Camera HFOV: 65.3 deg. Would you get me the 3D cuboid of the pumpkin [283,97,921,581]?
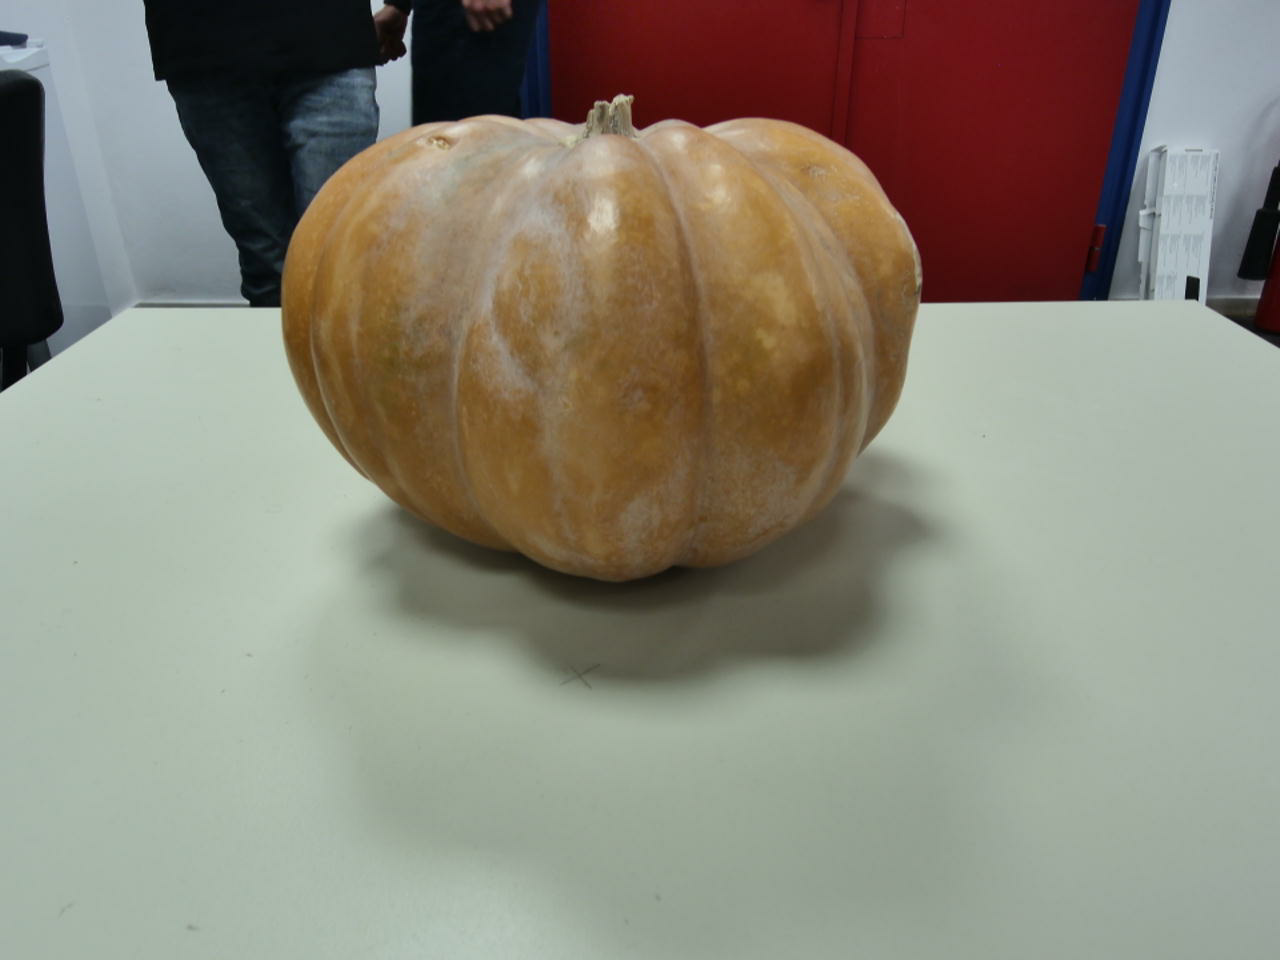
[{"bbox_3d":[-0.013,-0.069,0.433,0.277,0.181,0.277,0,25,0],"label":"pumpkin"}]
